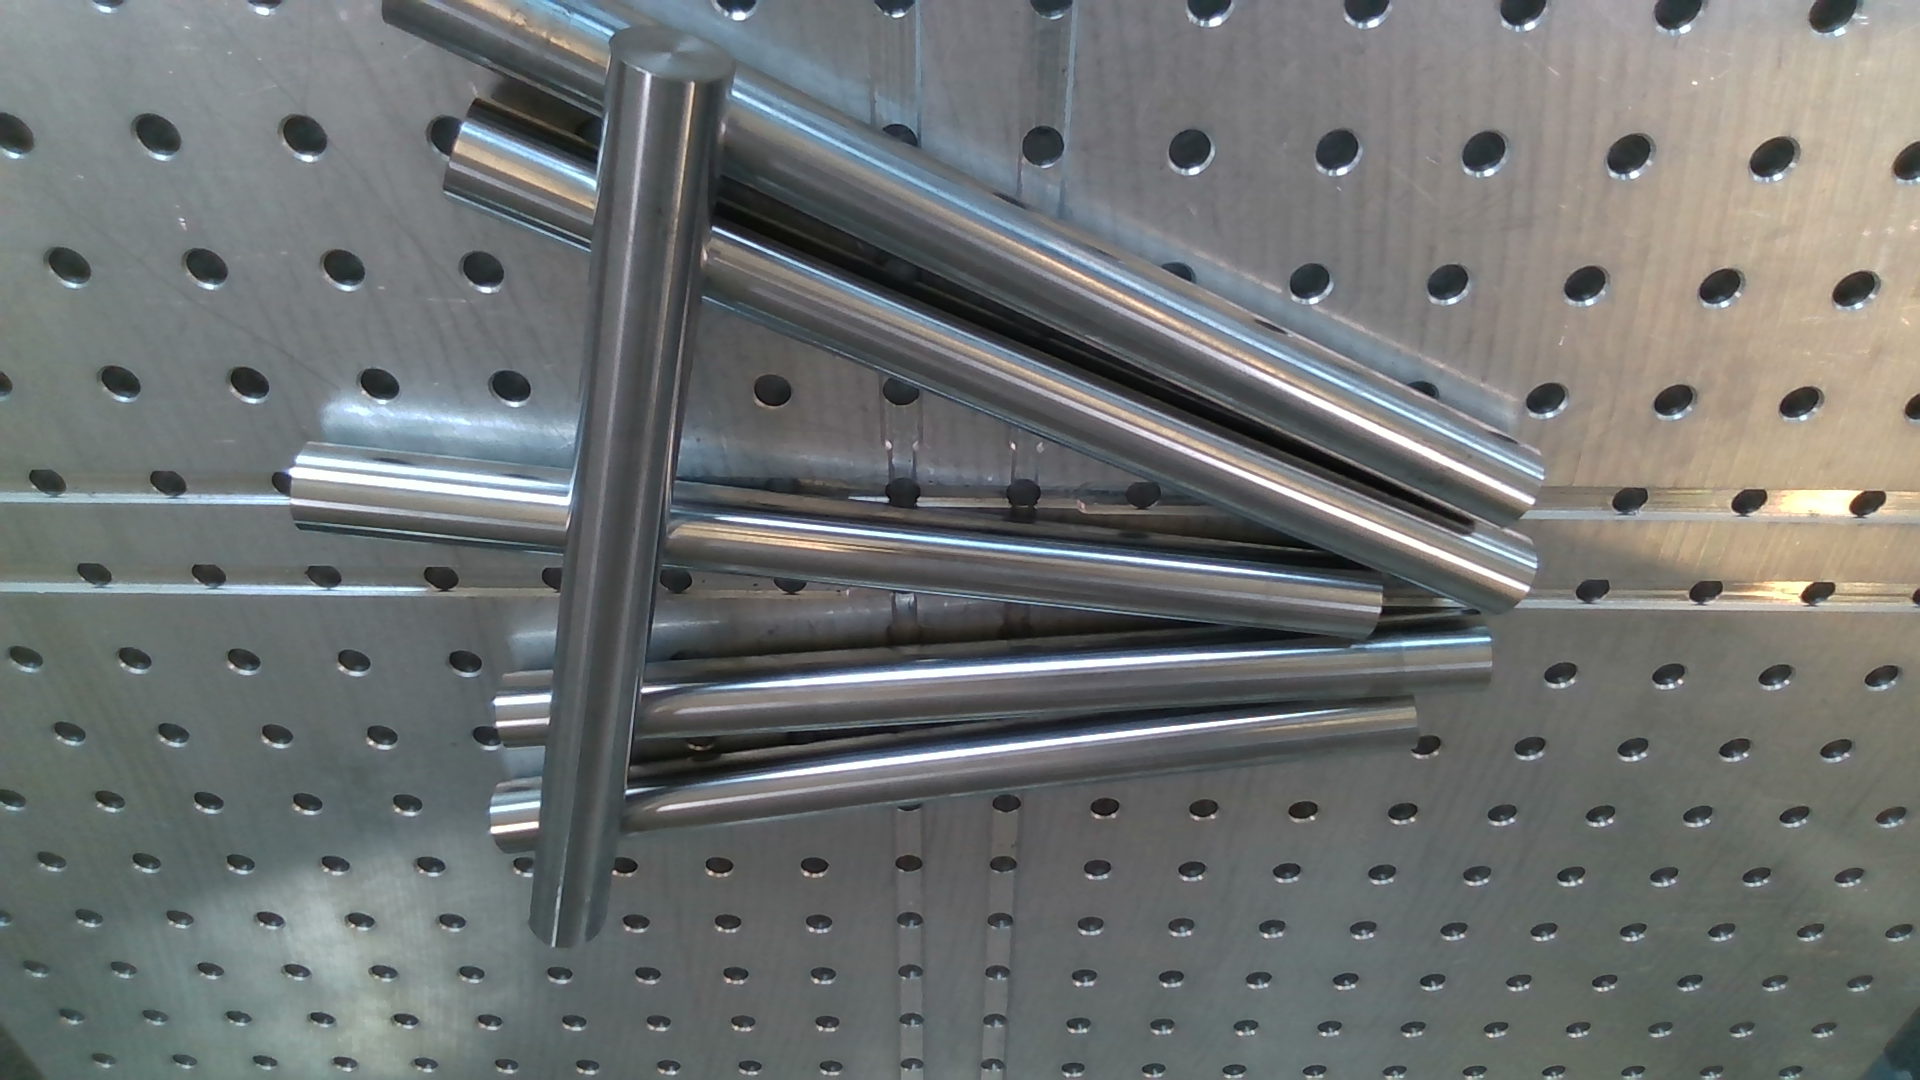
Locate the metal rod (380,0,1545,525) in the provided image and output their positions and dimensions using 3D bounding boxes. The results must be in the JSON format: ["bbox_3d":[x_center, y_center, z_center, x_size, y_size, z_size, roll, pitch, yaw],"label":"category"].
[{"bbox_3d":[0.017,-0.068,0.332,0.300,0.025,0.025,22,127,-17],"label":"metal rod"}]

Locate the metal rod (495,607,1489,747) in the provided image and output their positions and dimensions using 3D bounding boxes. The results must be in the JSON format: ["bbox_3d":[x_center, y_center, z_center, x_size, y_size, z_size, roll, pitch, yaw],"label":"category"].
[{"bbox_3d":[0.007,0.043,0.427,0.300,0.025,0.025,-4,130,3],"label":"metal rod"}]

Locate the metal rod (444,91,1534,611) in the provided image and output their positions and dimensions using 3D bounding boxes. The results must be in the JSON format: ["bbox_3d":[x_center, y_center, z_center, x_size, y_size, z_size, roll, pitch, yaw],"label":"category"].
[{"bbox_3d":[0.022,-0.041,0.357,0.300,0.025,0.025,20,127,-16],"label":"metal rod"}]

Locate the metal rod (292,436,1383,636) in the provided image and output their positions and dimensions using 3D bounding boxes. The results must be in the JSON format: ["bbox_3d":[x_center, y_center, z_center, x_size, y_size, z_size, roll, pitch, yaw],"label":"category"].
[{"bbox_3d":[-0.030,0.000,0.391,0.300,0.025,0.025,6,130,-5],"label":"metal rod"}]

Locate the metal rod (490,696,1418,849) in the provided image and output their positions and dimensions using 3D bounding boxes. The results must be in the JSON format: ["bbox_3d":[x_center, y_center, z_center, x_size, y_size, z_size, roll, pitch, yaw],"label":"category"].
[{"bbox_3d":[-0.006,0.073,0.452,0.300,0.025,0.025,-8,130,6],"label":"metal rod"}]
